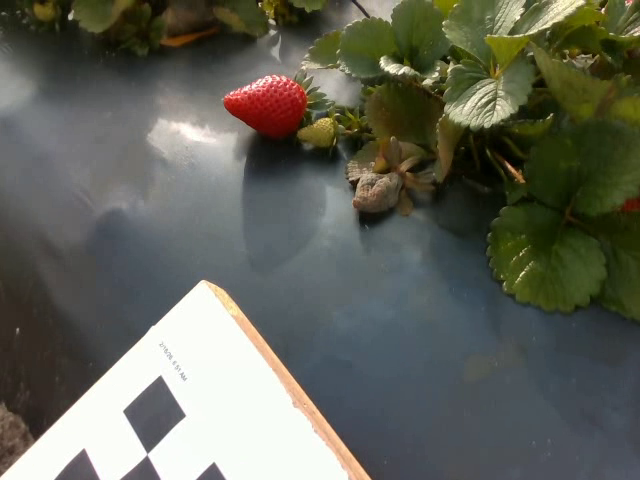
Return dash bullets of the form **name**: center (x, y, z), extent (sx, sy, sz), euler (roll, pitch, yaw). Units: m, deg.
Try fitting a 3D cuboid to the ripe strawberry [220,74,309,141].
- **ripe strawberry**: center (-0.035, -0.082, 0.354), extent (0.057, 0.051, 0.046), euler (-13, 51, -38)
